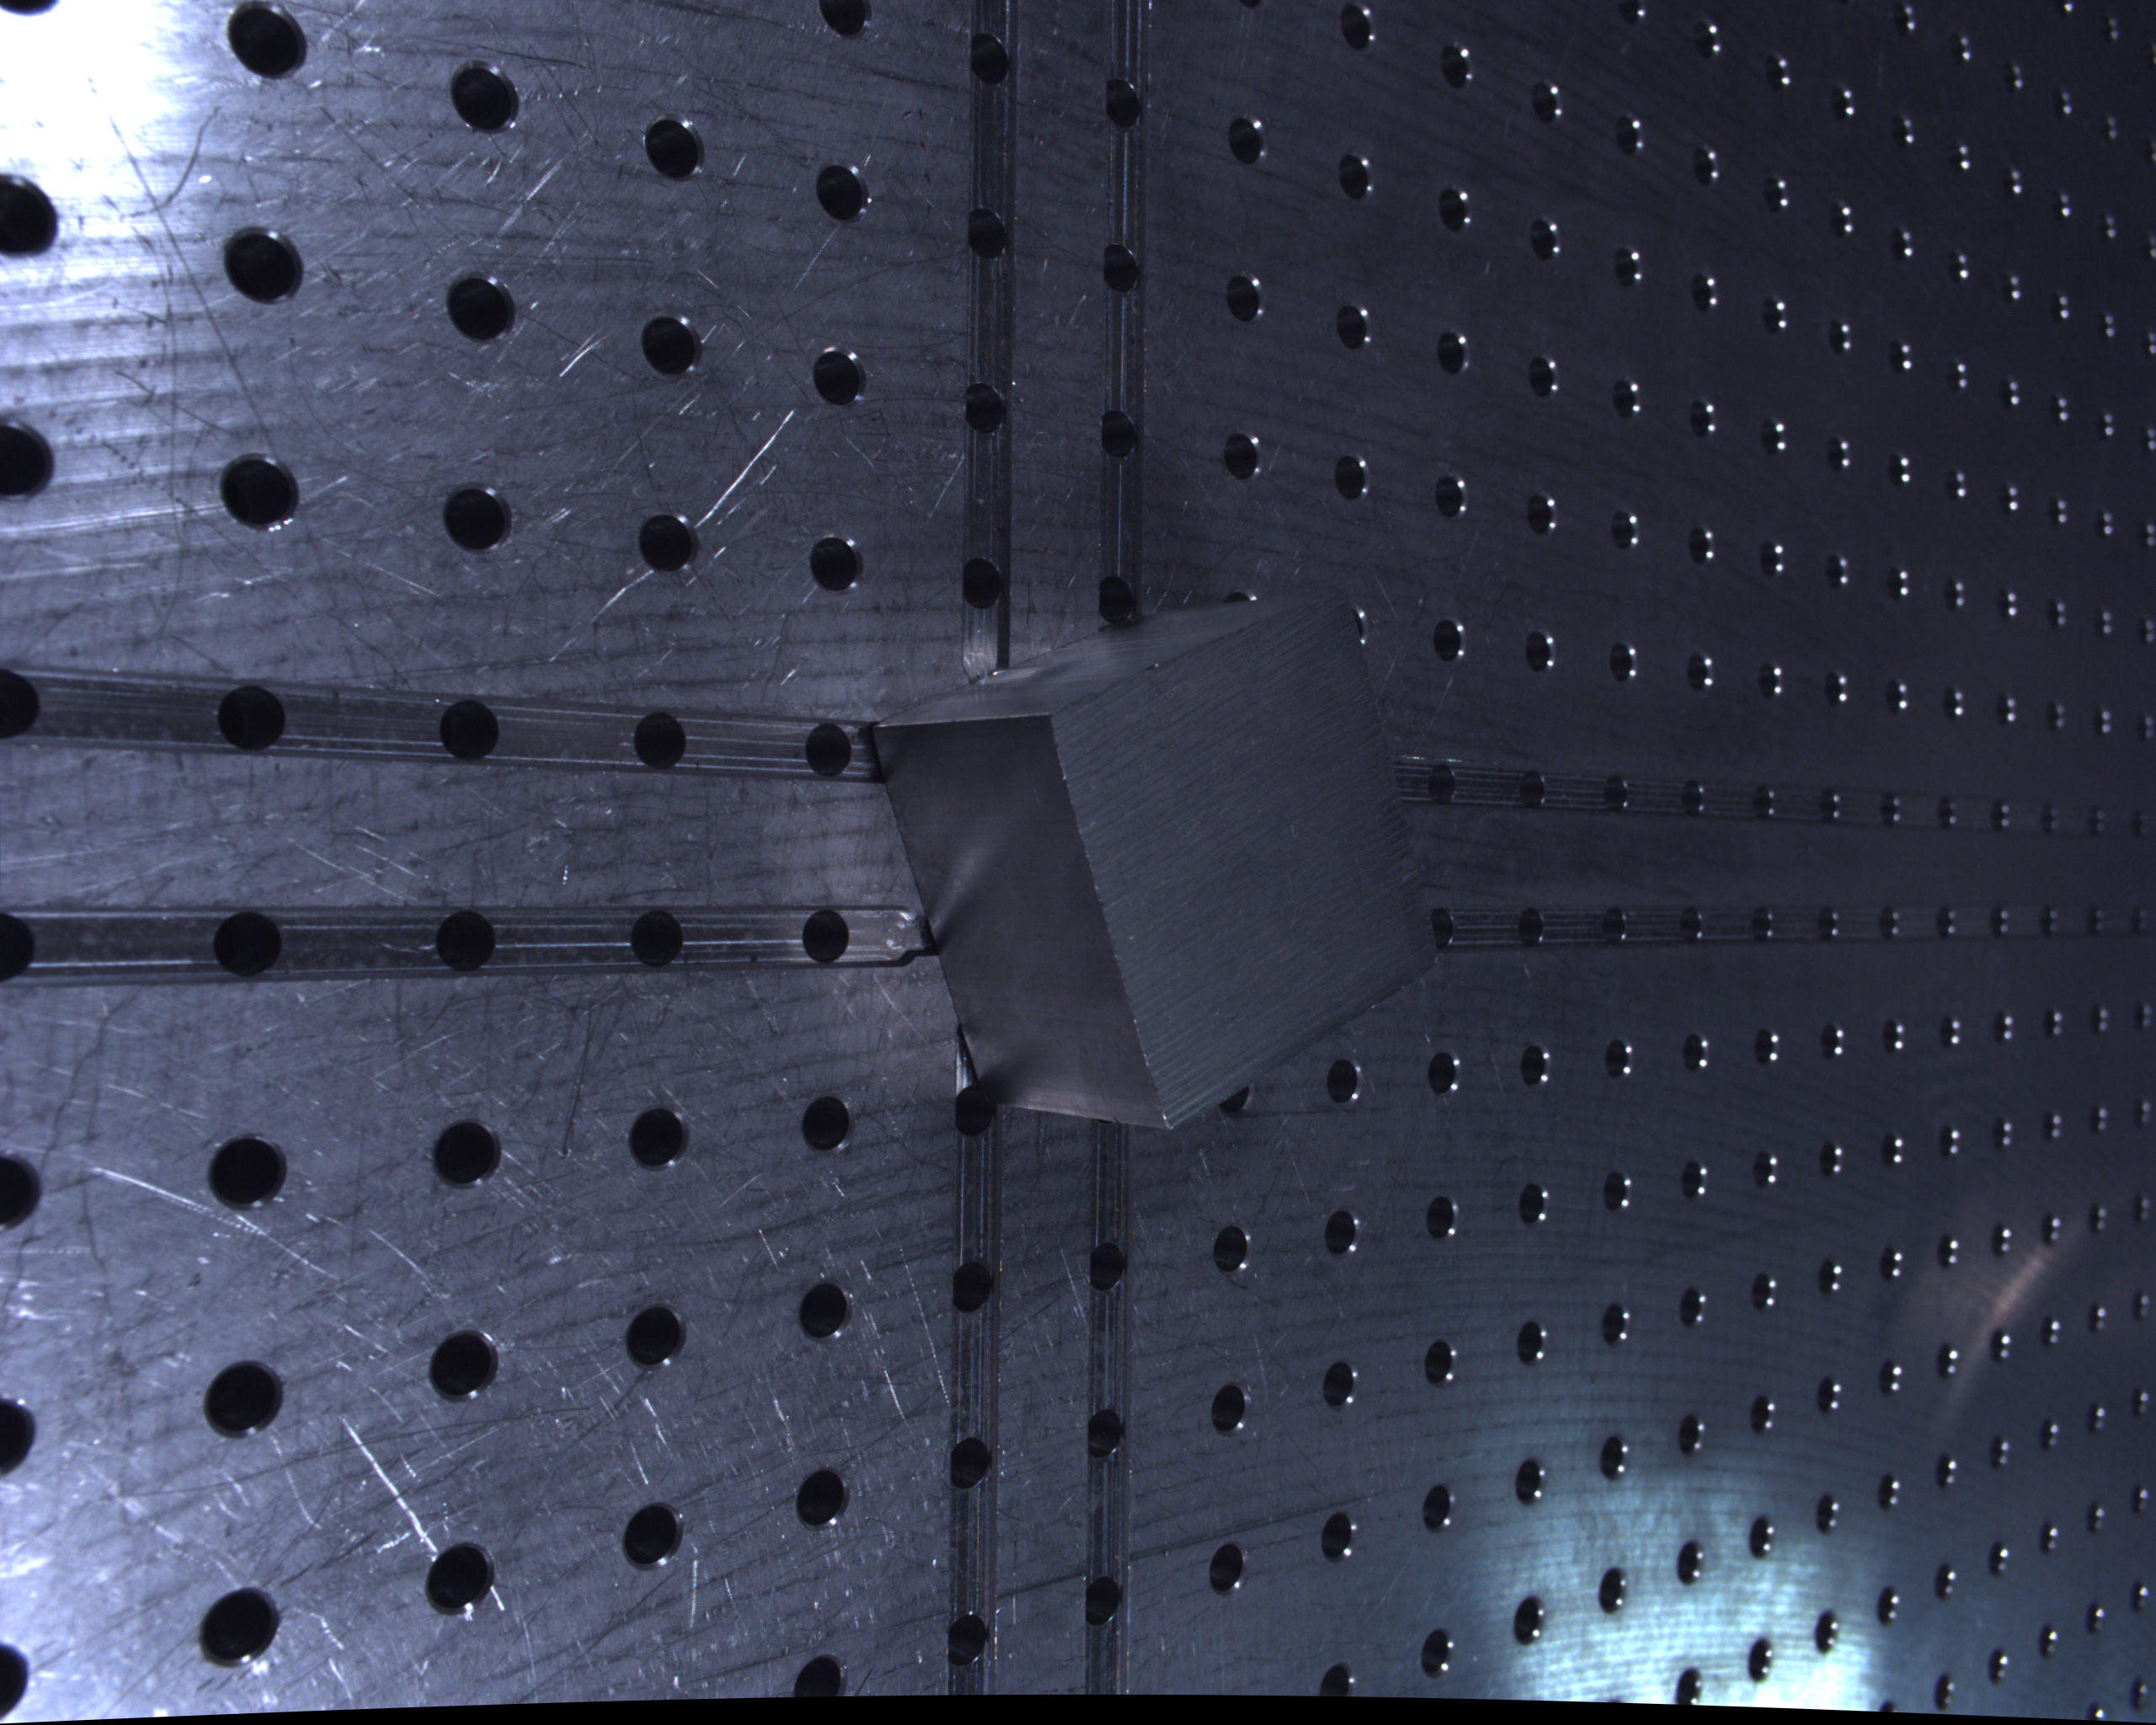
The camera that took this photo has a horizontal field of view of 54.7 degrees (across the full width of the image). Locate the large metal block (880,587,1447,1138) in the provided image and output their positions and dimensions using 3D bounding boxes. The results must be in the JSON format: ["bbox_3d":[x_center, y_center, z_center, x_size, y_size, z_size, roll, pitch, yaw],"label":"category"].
[{"bbox_3d":[0.019,-0.002,0.407,0.081,0.050,0.080,-27,107,-37],"label":"large metal block"}]
